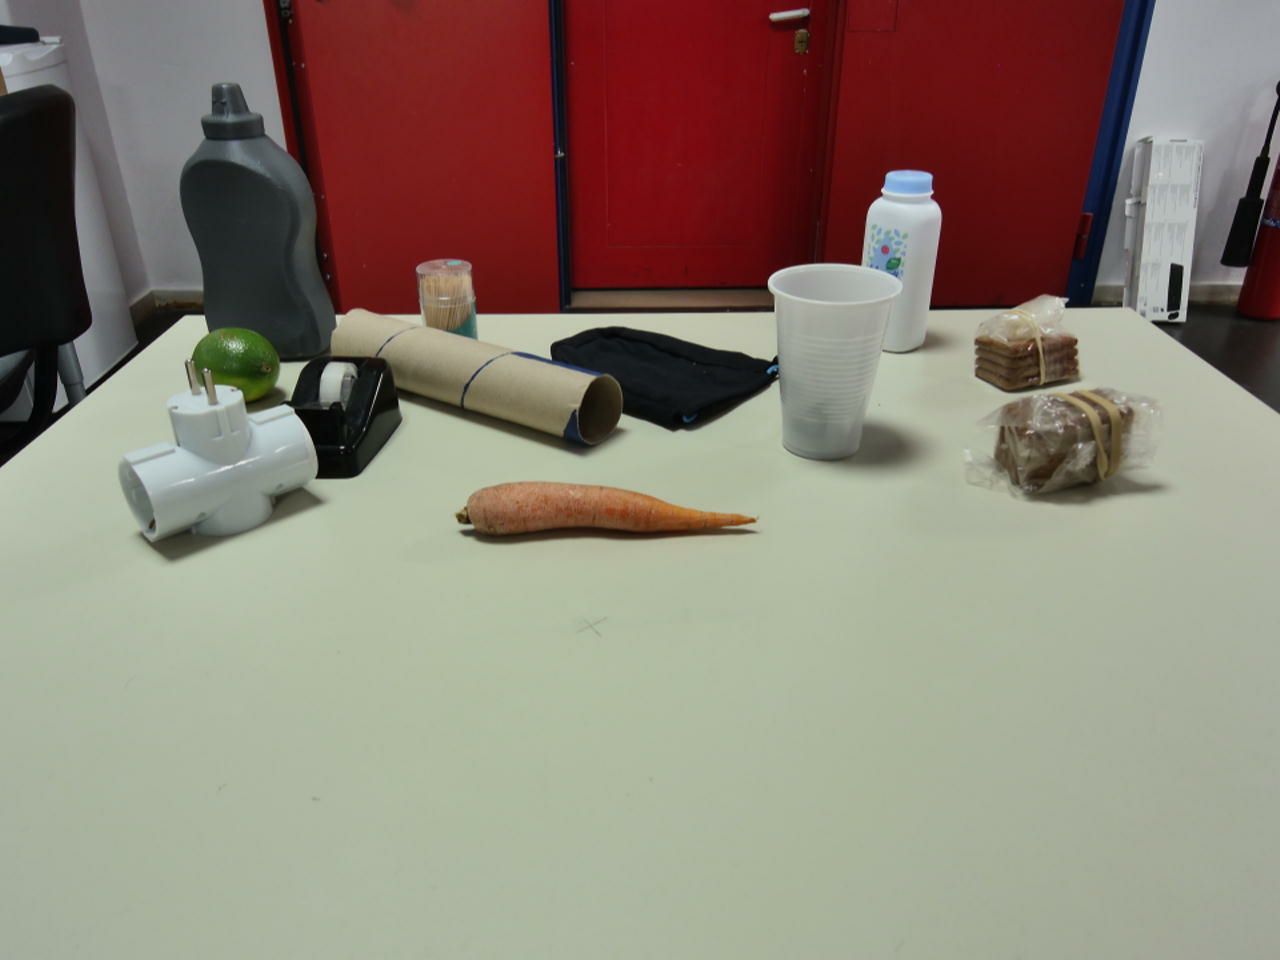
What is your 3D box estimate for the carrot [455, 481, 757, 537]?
[{"bbox_3d":[-0.018,0.015,0.546,0.163,0.029,0.031,0,26,0],"label":"carrot"}]
